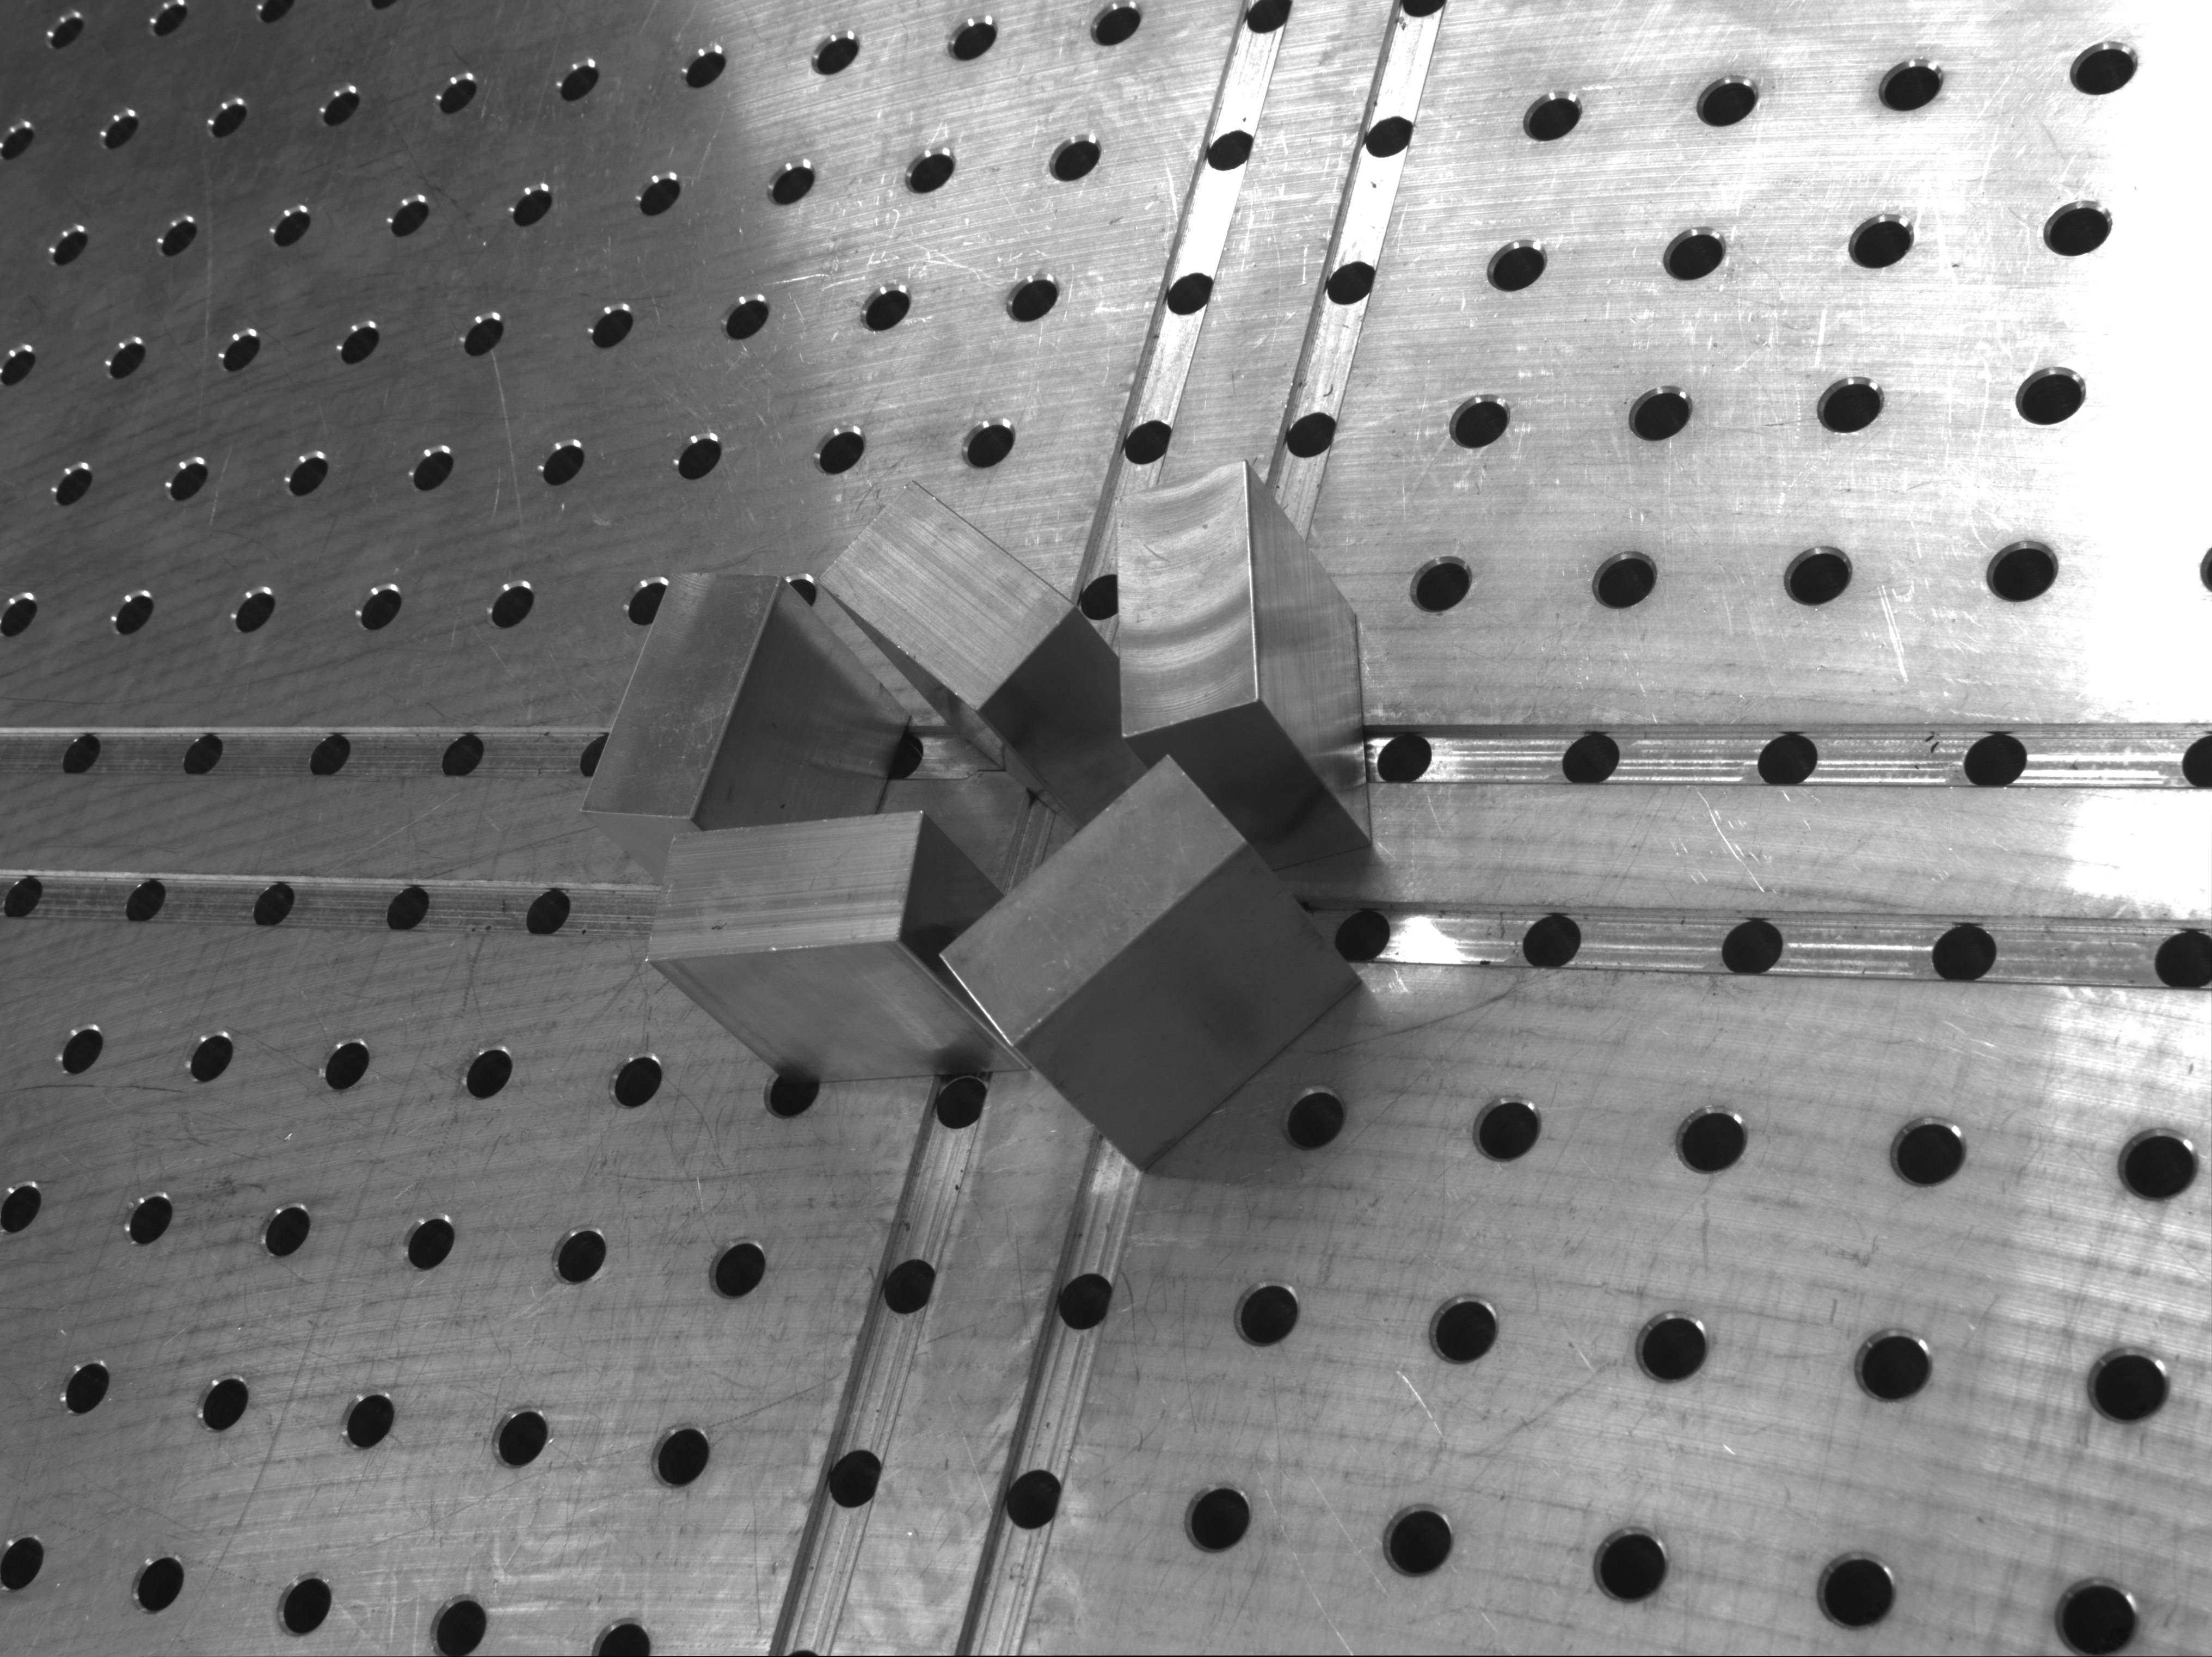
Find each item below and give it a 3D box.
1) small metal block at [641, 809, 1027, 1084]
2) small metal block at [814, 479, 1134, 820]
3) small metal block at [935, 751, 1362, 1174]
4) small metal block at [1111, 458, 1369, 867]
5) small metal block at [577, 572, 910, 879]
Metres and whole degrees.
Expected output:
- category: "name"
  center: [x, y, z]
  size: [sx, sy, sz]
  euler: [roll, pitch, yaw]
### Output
- category: "small metal block"
  center: [-0.045, 0.022, 0.643]
  size: [0.050, 0.050, 0.025]
  euler: [-5, 59, 26]
- category: "small metal block"
  center: [-0.018, -0.030, 0.660]
  size: [0.025, 0.050, 0.050]
  euler: [-48, 51, -4]
- category: "small metal block"
  center: [0.008, 0.023, 0.614]
  size: [0.050, 0.050, 0.025]
  euler: [-41, 50, 1]
- category: "small metal block"
  center: [0.023, -0.027, 0.636]
  size: [0.025, 0.050, 0.050]
  euler: [-15, 55, 20]
- category: "small metal block"
  center: [-0.066, -0.013, 0.676]
  size: [0.025, 0.050, 0.050]
  euler: [3, 64, 30]
